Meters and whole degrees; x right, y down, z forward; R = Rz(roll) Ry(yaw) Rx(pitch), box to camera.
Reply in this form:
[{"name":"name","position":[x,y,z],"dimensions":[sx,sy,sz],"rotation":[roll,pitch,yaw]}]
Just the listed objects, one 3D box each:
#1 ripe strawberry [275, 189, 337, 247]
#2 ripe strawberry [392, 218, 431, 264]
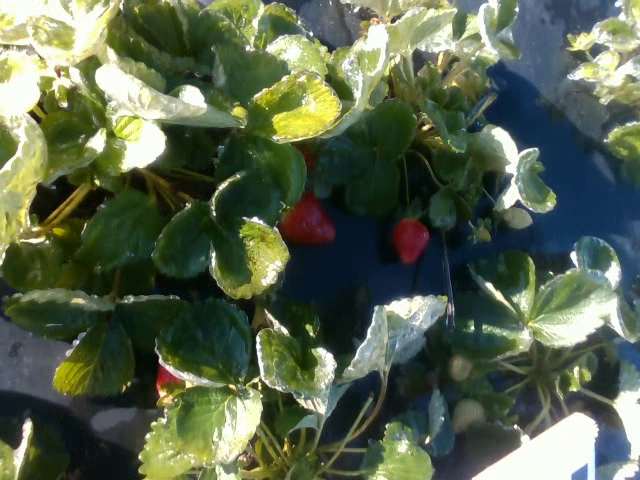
[{"name":"ripe strawberry","position":[-0.006,-0.012,0.502],"dimensions":[0.056,0.044,0.040],"rotation":[37,-13,-32]},{"name":"ripe strawberry","position":[0.078,0.003,0.542],"dimensions":[0.039,0.047,0.040],"rotation":[24,-17,-34]}]
